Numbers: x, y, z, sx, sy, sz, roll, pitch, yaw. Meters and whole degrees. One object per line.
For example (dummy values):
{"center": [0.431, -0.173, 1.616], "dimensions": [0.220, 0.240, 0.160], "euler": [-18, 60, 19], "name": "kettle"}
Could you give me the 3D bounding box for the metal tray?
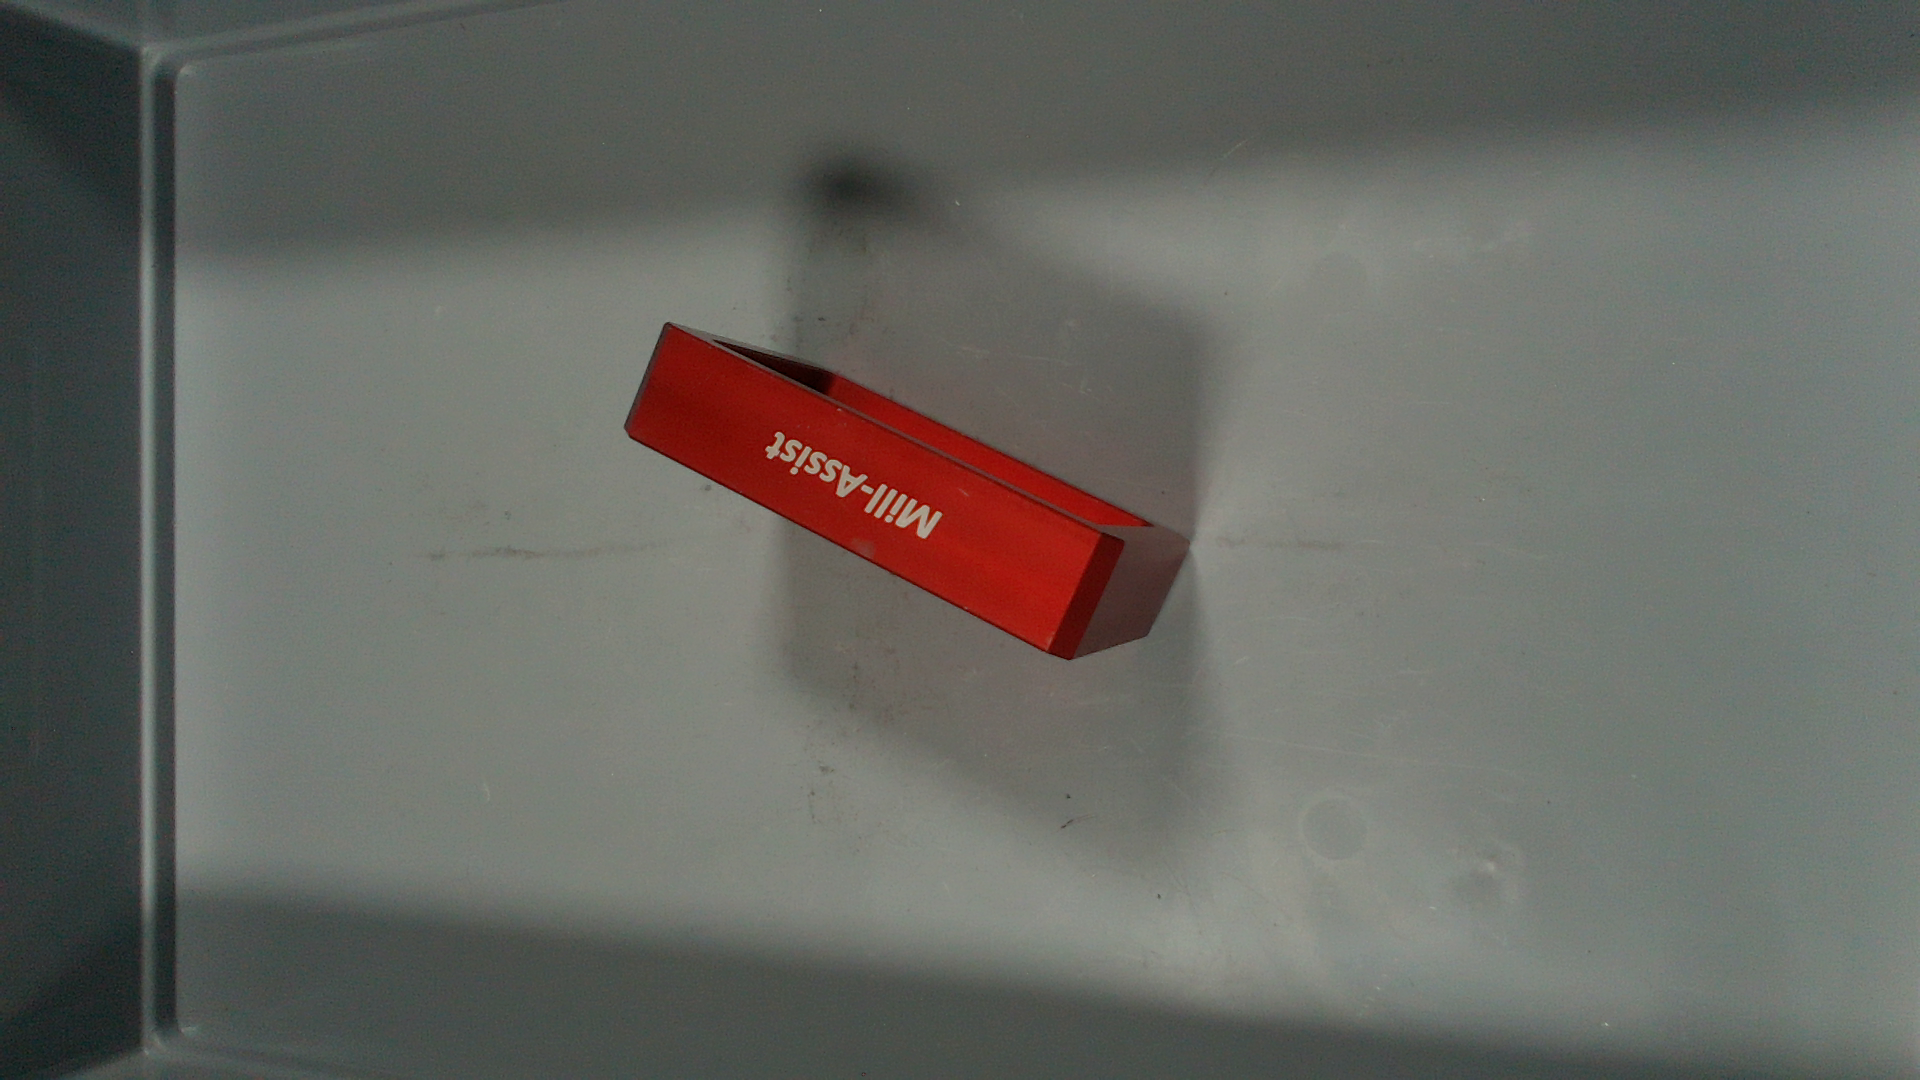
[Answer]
{"center": [-0.011, -0.013, 0.362], "dimensions": [0.130, 0.090, 0.030], "euler": [26, 99, 17], "name": "metal tray"}
